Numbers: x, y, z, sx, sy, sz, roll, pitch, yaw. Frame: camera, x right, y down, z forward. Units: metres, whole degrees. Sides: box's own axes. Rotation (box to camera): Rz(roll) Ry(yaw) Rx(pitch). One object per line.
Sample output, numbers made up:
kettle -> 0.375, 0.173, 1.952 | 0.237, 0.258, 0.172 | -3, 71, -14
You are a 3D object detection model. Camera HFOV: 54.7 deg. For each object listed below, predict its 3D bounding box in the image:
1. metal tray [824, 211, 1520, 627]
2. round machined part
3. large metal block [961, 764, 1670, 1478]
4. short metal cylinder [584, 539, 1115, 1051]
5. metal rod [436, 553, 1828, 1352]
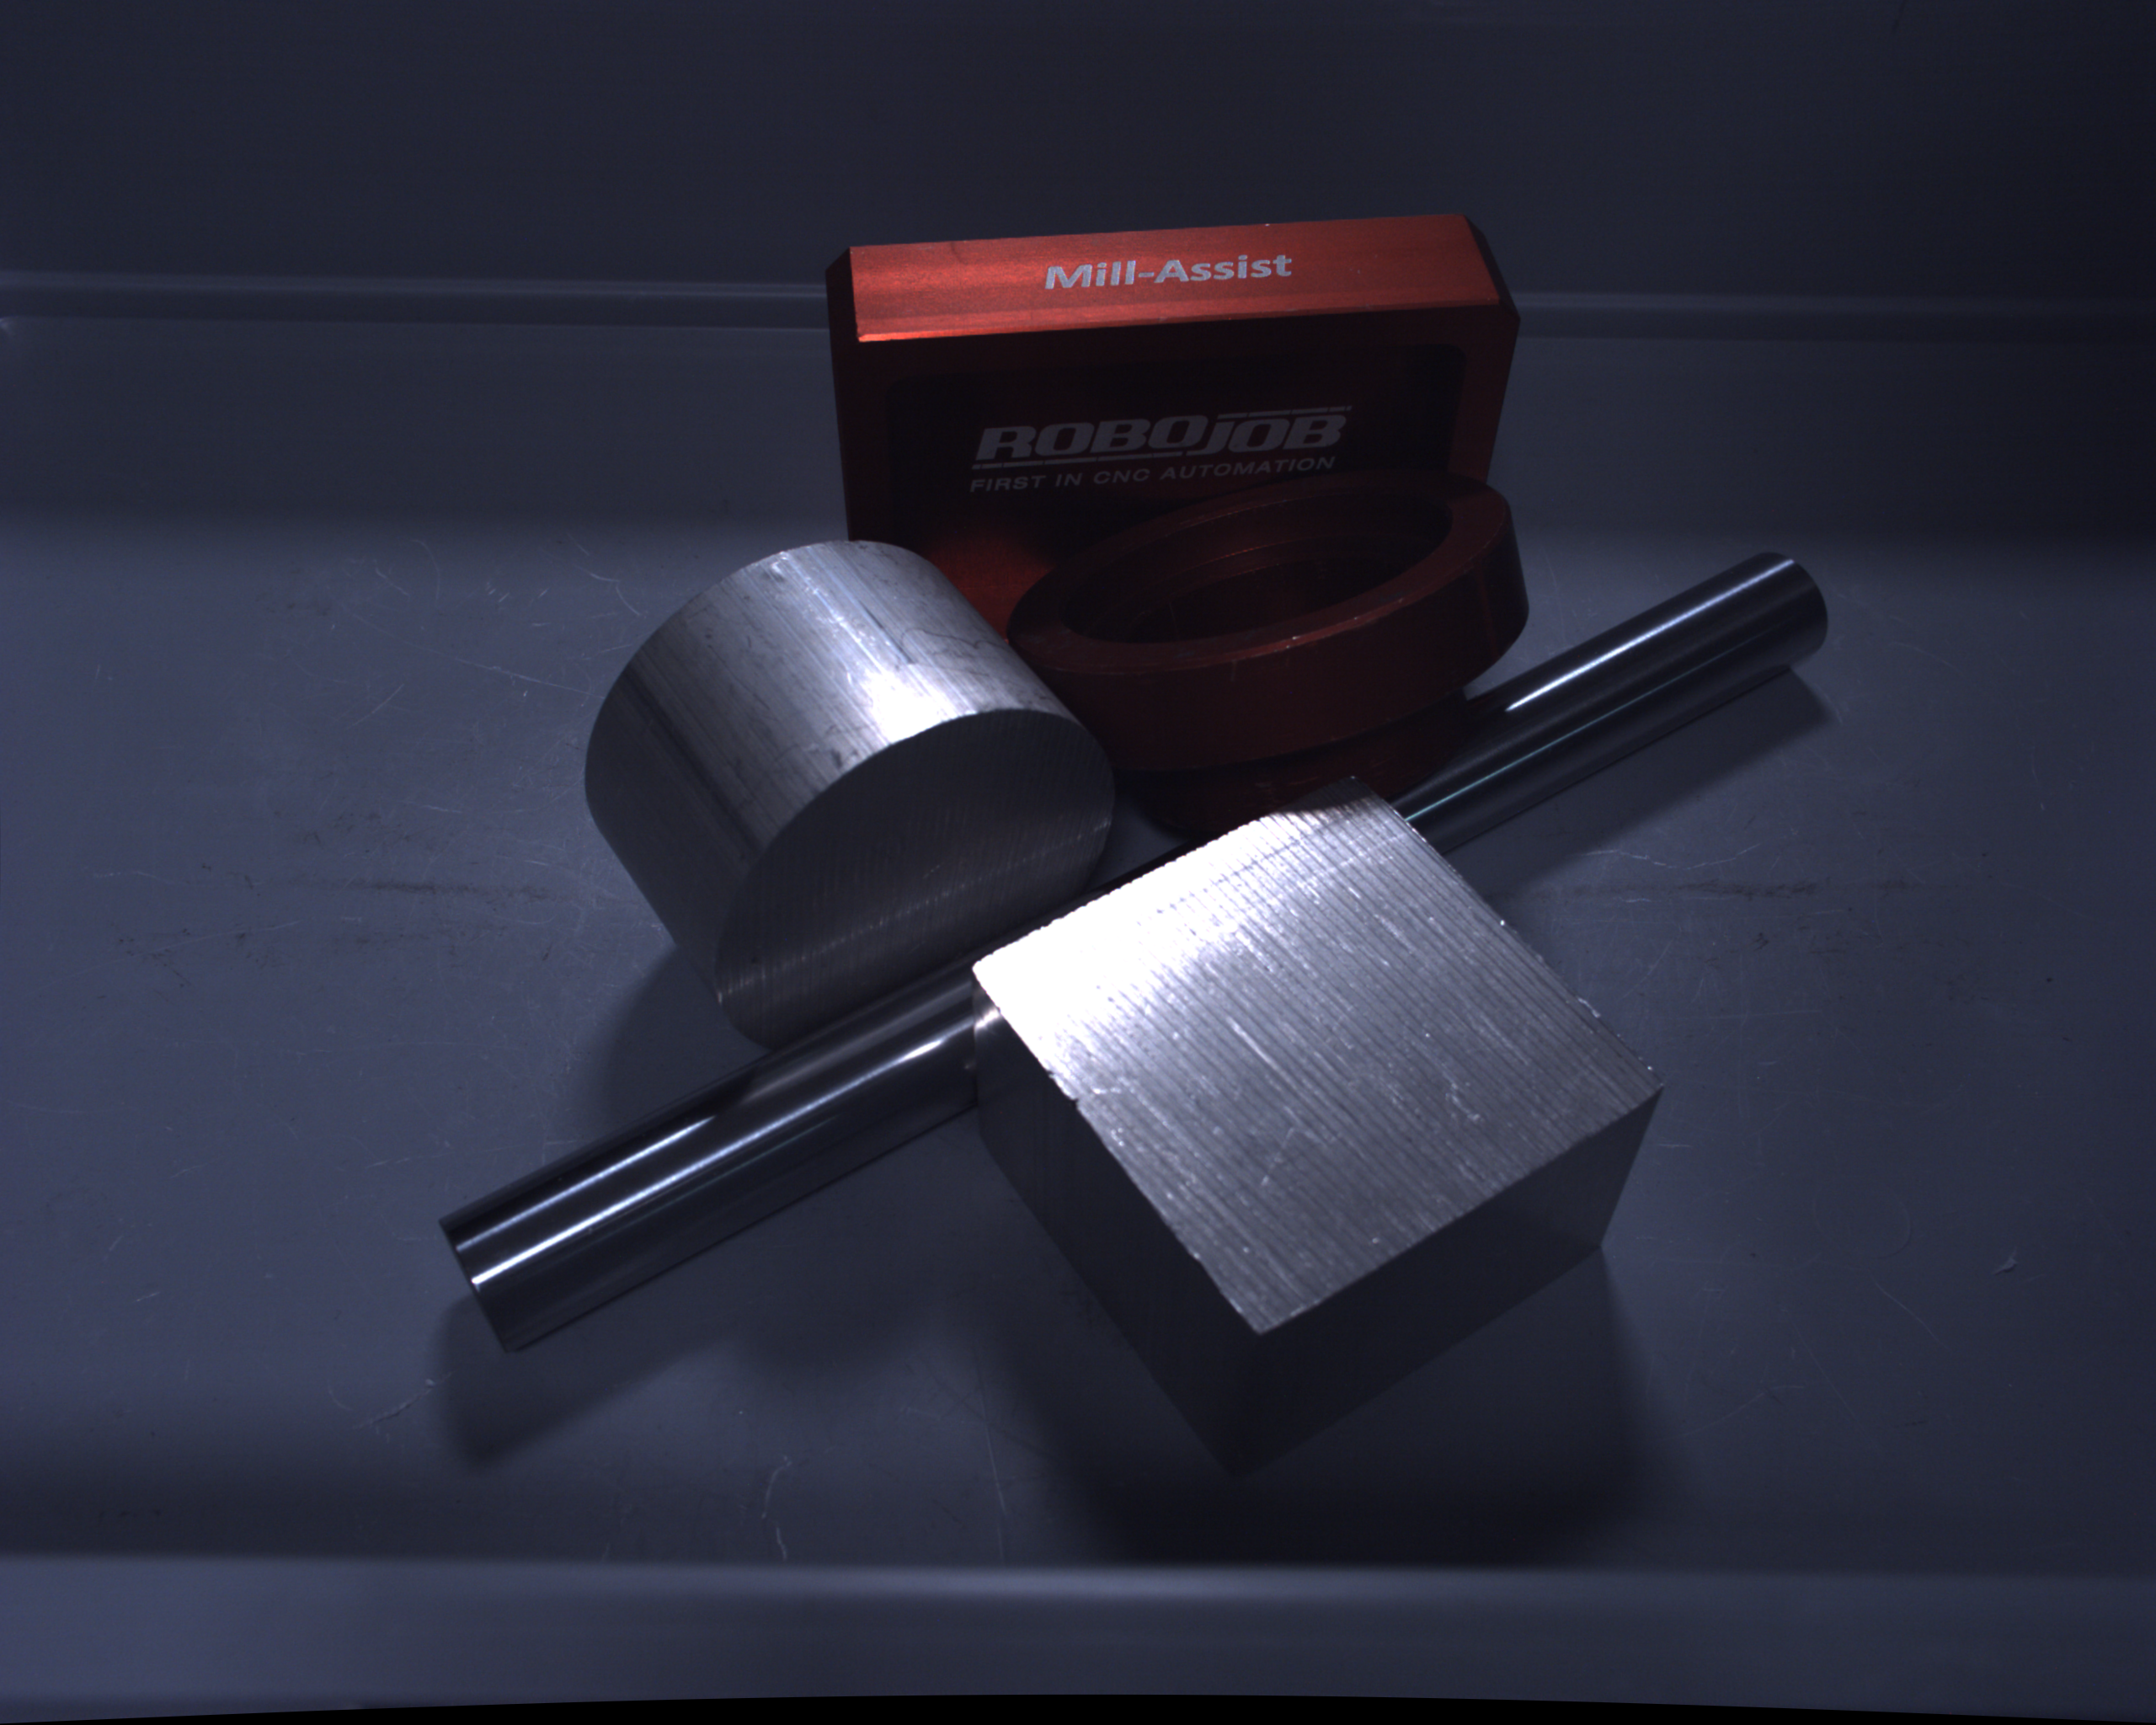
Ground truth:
metal tray -> 0.017, -0.084, 0.430 | 0.131, 0.089, 0.030 | -5, 51, -5
round machined part -> 0.039, -0.040, 0.408 | 0.098, 0.042, 0.098 | -13, 24, 6
large metal block -> 0.037, 0.041, 0.351 | 0.081, 0.050, 0.080 | -26, 55, -21
short metal cylinder -> -0.041, -0.011, 0.376 | 0.081, 0.080, 0.050 | -27, 55, -21
metal rod -> 0.026, 0.007, 0.397 | 0.302, 0.025, 0.025 | -26, 55, -21
